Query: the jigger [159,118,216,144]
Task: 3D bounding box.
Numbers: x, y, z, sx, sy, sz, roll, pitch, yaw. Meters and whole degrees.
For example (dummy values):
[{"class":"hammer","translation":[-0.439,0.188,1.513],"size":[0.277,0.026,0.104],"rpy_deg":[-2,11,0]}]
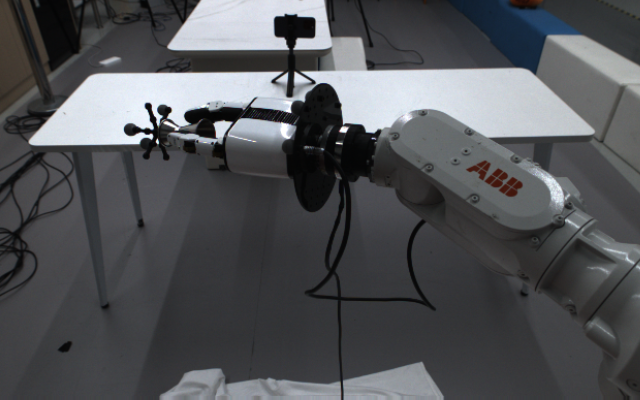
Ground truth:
[{"class":"jigger","translation":[-0.183,-0.098,0.675],"size":[0.071,0.043,0.043],"rpy_deg":[4,33,23]}]
